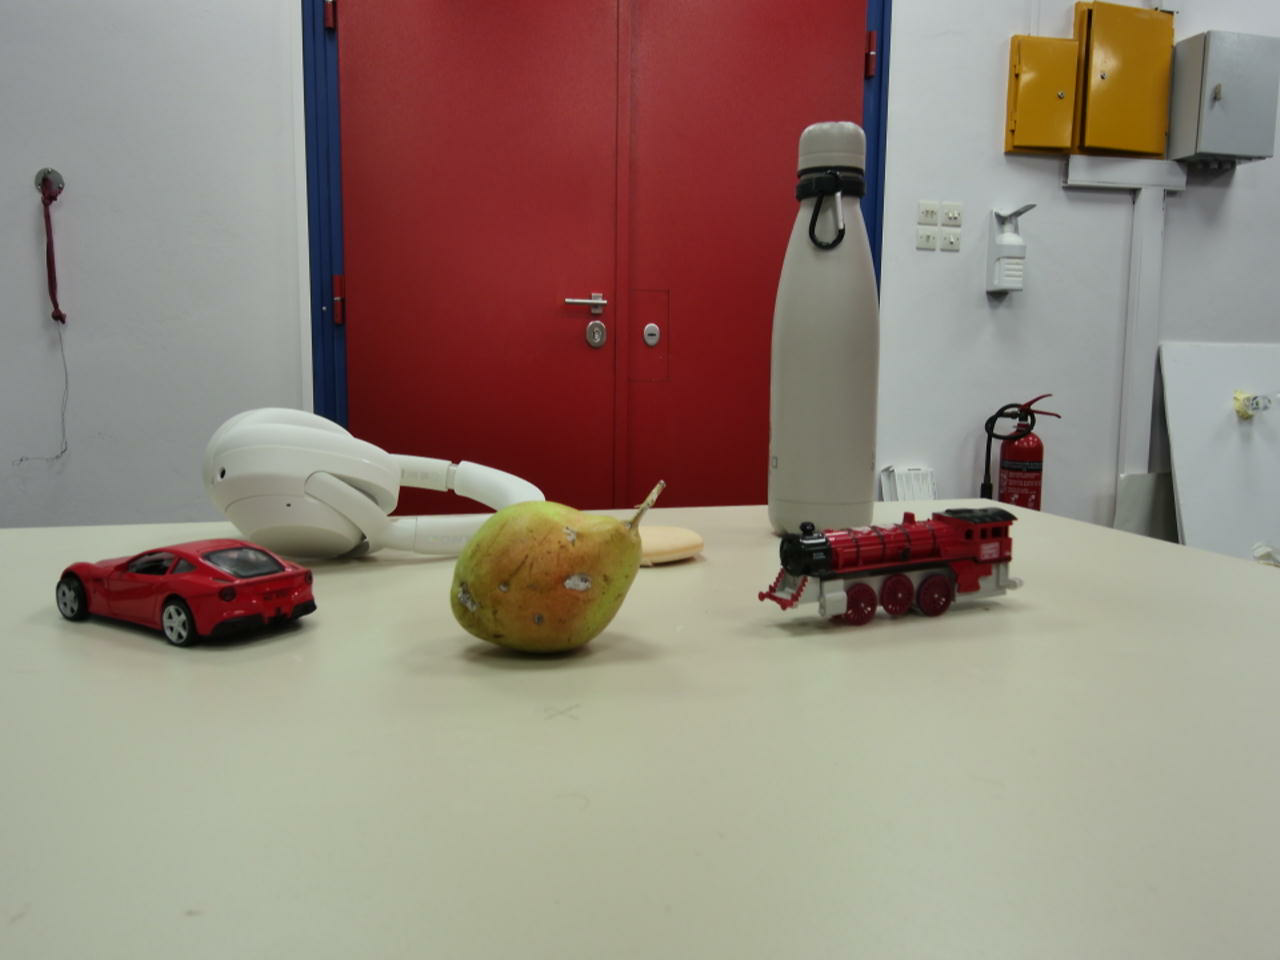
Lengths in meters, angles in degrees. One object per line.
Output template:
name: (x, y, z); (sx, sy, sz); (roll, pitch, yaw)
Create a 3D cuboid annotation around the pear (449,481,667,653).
pear: (-0.037, 0.036, 0.410); (0.070, 0.069, 0.068); (3, 5, 38)
